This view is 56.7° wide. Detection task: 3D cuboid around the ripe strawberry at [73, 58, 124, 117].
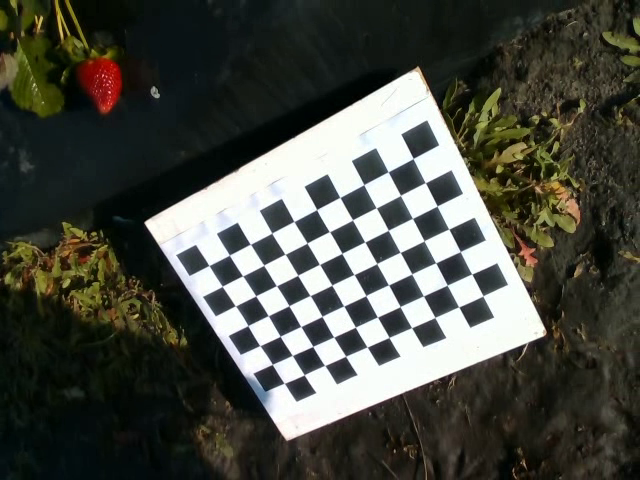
[{"bbox_3d":[-0.185,-0.128,0.497,0.045,0.055,0.042,-19,-17,8],"label":"ripe strawberry"}]
